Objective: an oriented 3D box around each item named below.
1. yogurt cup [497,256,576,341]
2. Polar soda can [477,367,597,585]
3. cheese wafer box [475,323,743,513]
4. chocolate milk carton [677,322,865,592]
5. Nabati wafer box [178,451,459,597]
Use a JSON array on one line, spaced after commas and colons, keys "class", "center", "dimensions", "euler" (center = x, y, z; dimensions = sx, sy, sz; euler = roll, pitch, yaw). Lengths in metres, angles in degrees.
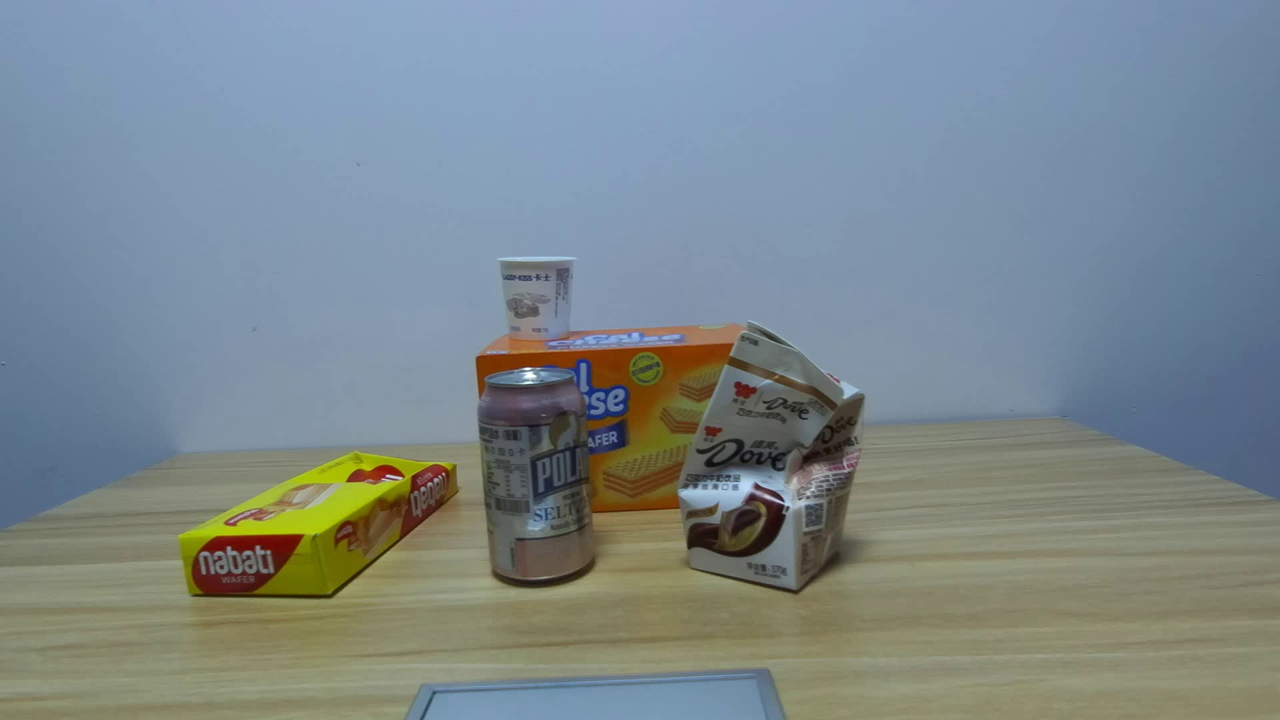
[{"class": "yogurt cup", "center": [-0.088, -0.054, 0.620], "dimensions": [0.072, 0.068, 0.072], "euler": [0, 9, 0]}, {"class": "Polar soda can", "center": [-0.065, 0.071, 0.444], "dimensions": [0.067, 0.125, 0.067], "euler": [-3, 7, 1]}, {"class": "cheese wafer box", "center": [-0.013, 0.045, 0.600], "dimensions": [0.222, 0.129, 0.148], "euler": [-3, 8, -4]}, {"class": "chocolate milk carton", "center": [0.081, 0.058, 0.424], "dimensions": [0.089, 0.155, 0.077], "euler": [18, 23, 26]}, {"class": "Nabati wafer box", "center": [-0.215, 0.108, 0.513], "dimensions": [0.096, 0.042, 0.203], "euler": [-4, 7, 9]}]
